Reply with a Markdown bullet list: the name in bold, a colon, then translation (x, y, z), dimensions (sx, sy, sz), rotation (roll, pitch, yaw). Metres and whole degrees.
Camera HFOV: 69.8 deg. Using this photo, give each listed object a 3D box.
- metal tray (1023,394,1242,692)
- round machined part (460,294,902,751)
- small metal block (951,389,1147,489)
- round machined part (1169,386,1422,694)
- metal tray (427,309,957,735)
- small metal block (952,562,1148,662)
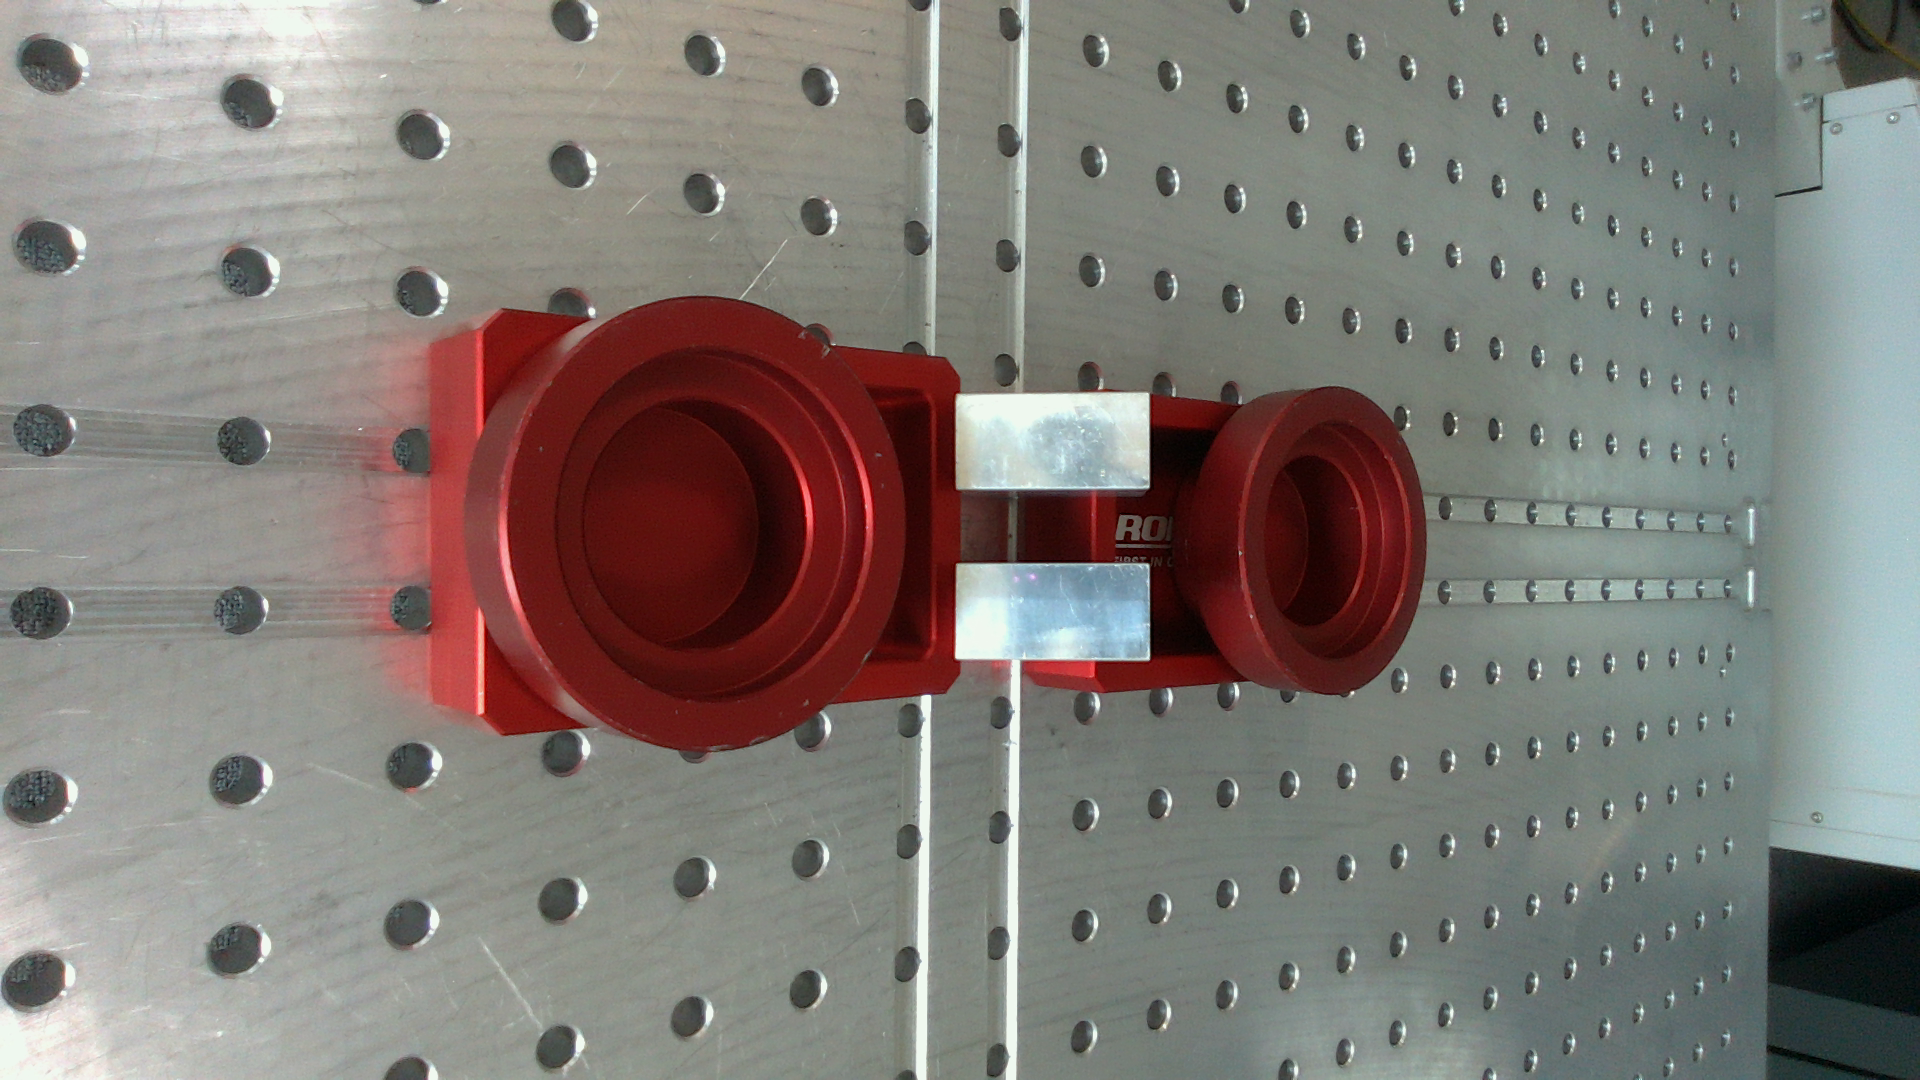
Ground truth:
- **metal tray**: translation (0.079, 0.001, 0.455), dimensions (0.131, 0.030, 0.090), rotation (1, 90, -40)
- **round machined part**: translation (-0.064, -0.004, 0.311), dimensions (0.098, 0.042, 0.098), rotation (0, 90, -40)
- **small metal block**: translation (0.025, -0.026, 0.378), dimensions (0.050, 0.050, 0.025), rotation (1, 90, 5)
- **round machined part**: translation (0.107, 0.000, 0.454), dimensions (0.098, 0.042, 0.098), rotation (0, 90, -40)
- **metal tray**: translation (-0.060, -0.005, 0.339), dimensions (0.131, 0.030, 0.090), rotation (-1, 93, -40)
- **small metal block**: translation (0.025, 0.019, 0.377), dimensions (0.050, 0.050, 0.025), rotation (1, 90, 5)
